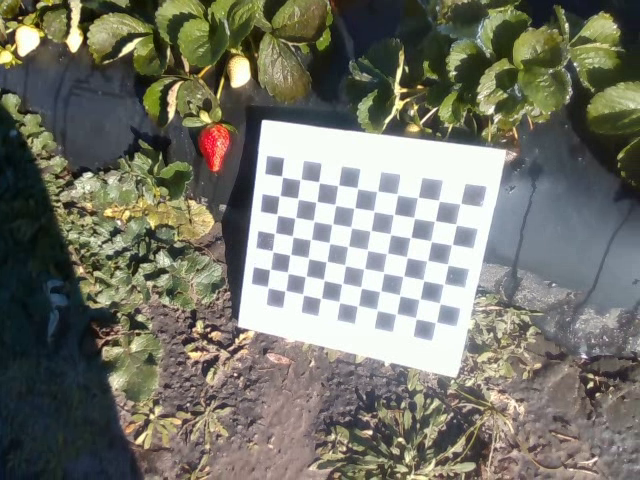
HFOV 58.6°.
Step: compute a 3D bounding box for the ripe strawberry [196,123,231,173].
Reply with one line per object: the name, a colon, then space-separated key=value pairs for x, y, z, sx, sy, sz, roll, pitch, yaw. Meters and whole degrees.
ripe strawberry: x=-0.135 y=-0.117 z=0.711 sx=0.048 sy=0.069 sz=0.040 roll=-8 pitch=-1 yaw=18
